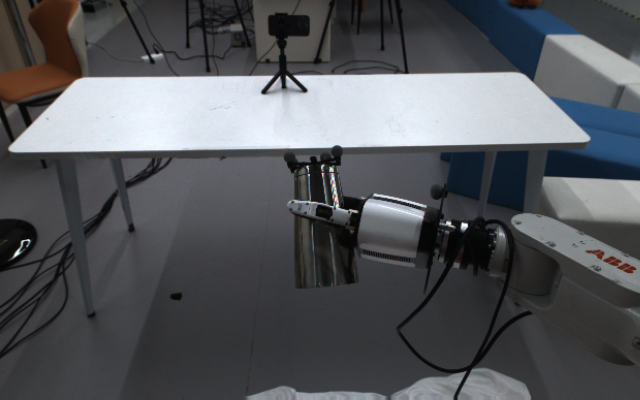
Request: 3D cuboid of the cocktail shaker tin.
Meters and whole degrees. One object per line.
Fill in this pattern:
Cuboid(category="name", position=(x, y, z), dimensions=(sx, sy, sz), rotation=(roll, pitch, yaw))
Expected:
Cuboid(category="cocktail shaker tin", position=(0.002, 0.038, 0.705), dimensions=(0.093, 0.170, 0.093), rotation=(-6, -7, -1))
